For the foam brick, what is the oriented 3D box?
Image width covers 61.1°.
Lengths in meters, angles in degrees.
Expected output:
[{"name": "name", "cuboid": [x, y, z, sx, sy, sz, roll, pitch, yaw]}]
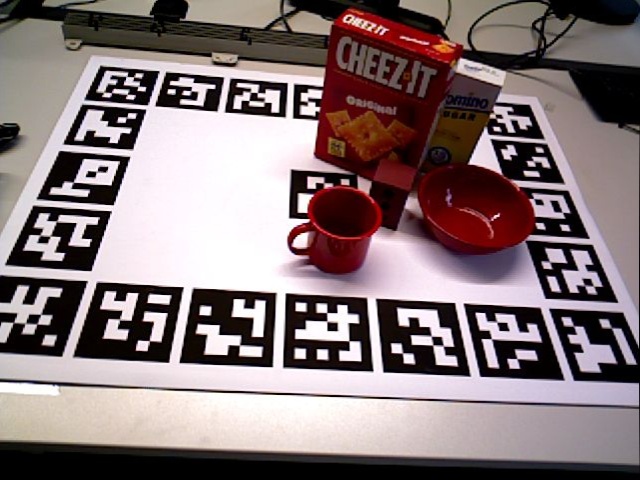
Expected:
[{"name": "foam brick", "cuboid": [0.093, -0.065, 0.737, 0.052, 0.080, 0.050, 16, 48, 6]}]

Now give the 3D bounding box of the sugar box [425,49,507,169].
[{"name": "sugar box", "cuboid": [0.193, -0.179, 0.775, 0.093, 0.180, 0.044, 21, 49, 10]}]

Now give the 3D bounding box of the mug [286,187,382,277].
[{"name": "mug", "cuboid": [0.013, -0.009, 0.665, 0.116, 0.083, 0.092, -3, 42, -9]}]

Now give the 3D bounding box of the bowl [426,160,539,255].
[{"name": "bowl", "cuboid": [0.214, -0.034, 0.723, 0.160, 0.056, 0.159, 3, 50, -5]}]

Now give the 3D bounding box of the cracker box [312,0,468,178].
[{"name": "cracker box", "cuboid": [0.086, -0.189, 0.746, 0.164, 0.219, 0.070, 28, 49, 14]}]
